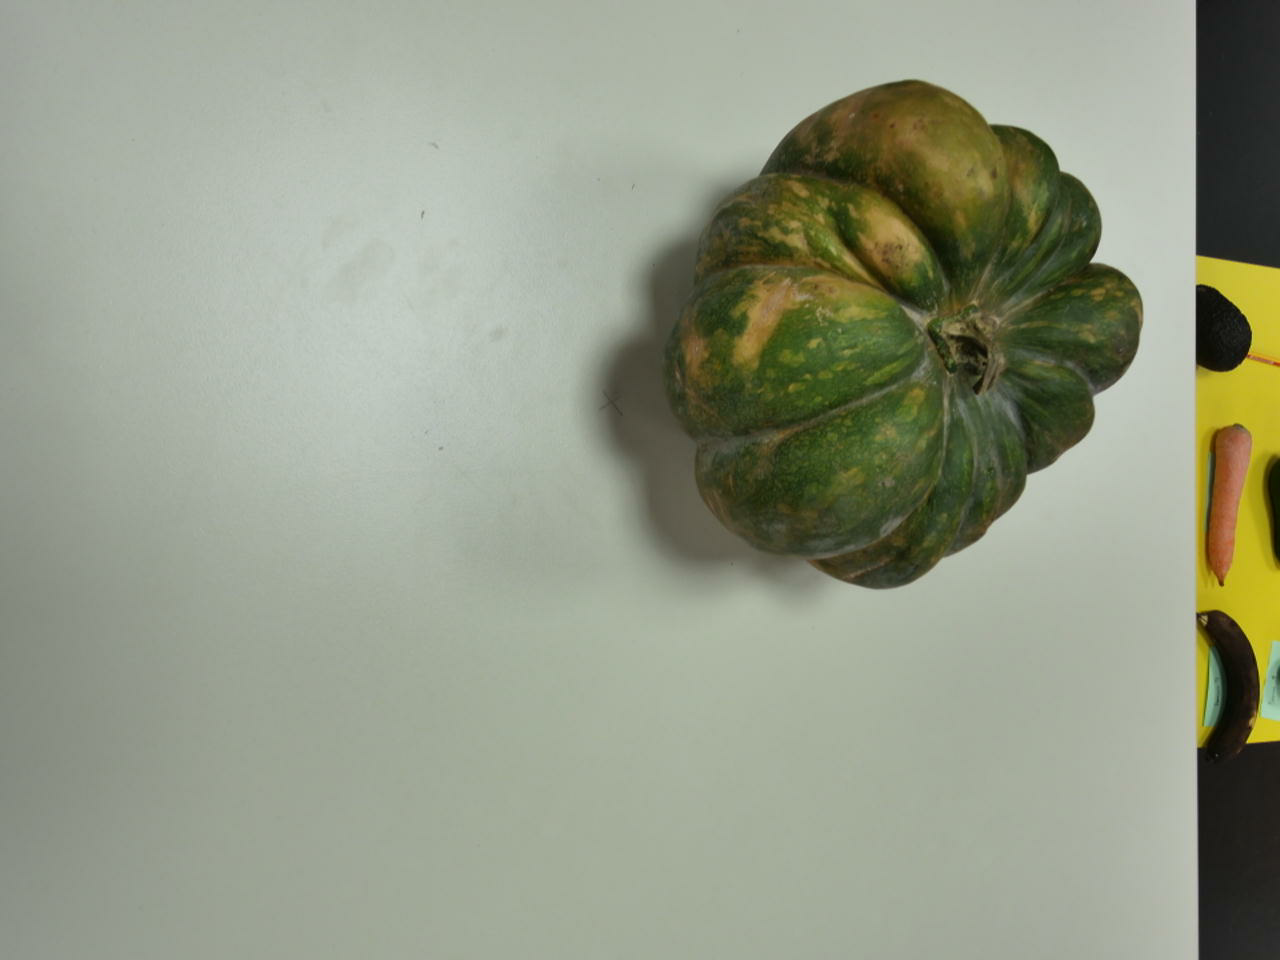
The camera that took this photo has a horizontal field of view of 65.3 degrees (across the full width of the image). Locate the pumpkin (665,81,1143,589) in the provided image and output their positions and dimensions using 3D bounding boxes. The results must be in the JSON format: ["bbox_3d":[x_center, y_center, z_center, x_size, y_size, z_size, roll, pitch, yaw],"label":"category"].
[{"bbox_3d":[0.137,-0.072,0.533,0.237,0.173,0.270,39,77,-18],"label":"pumpkin"}]
